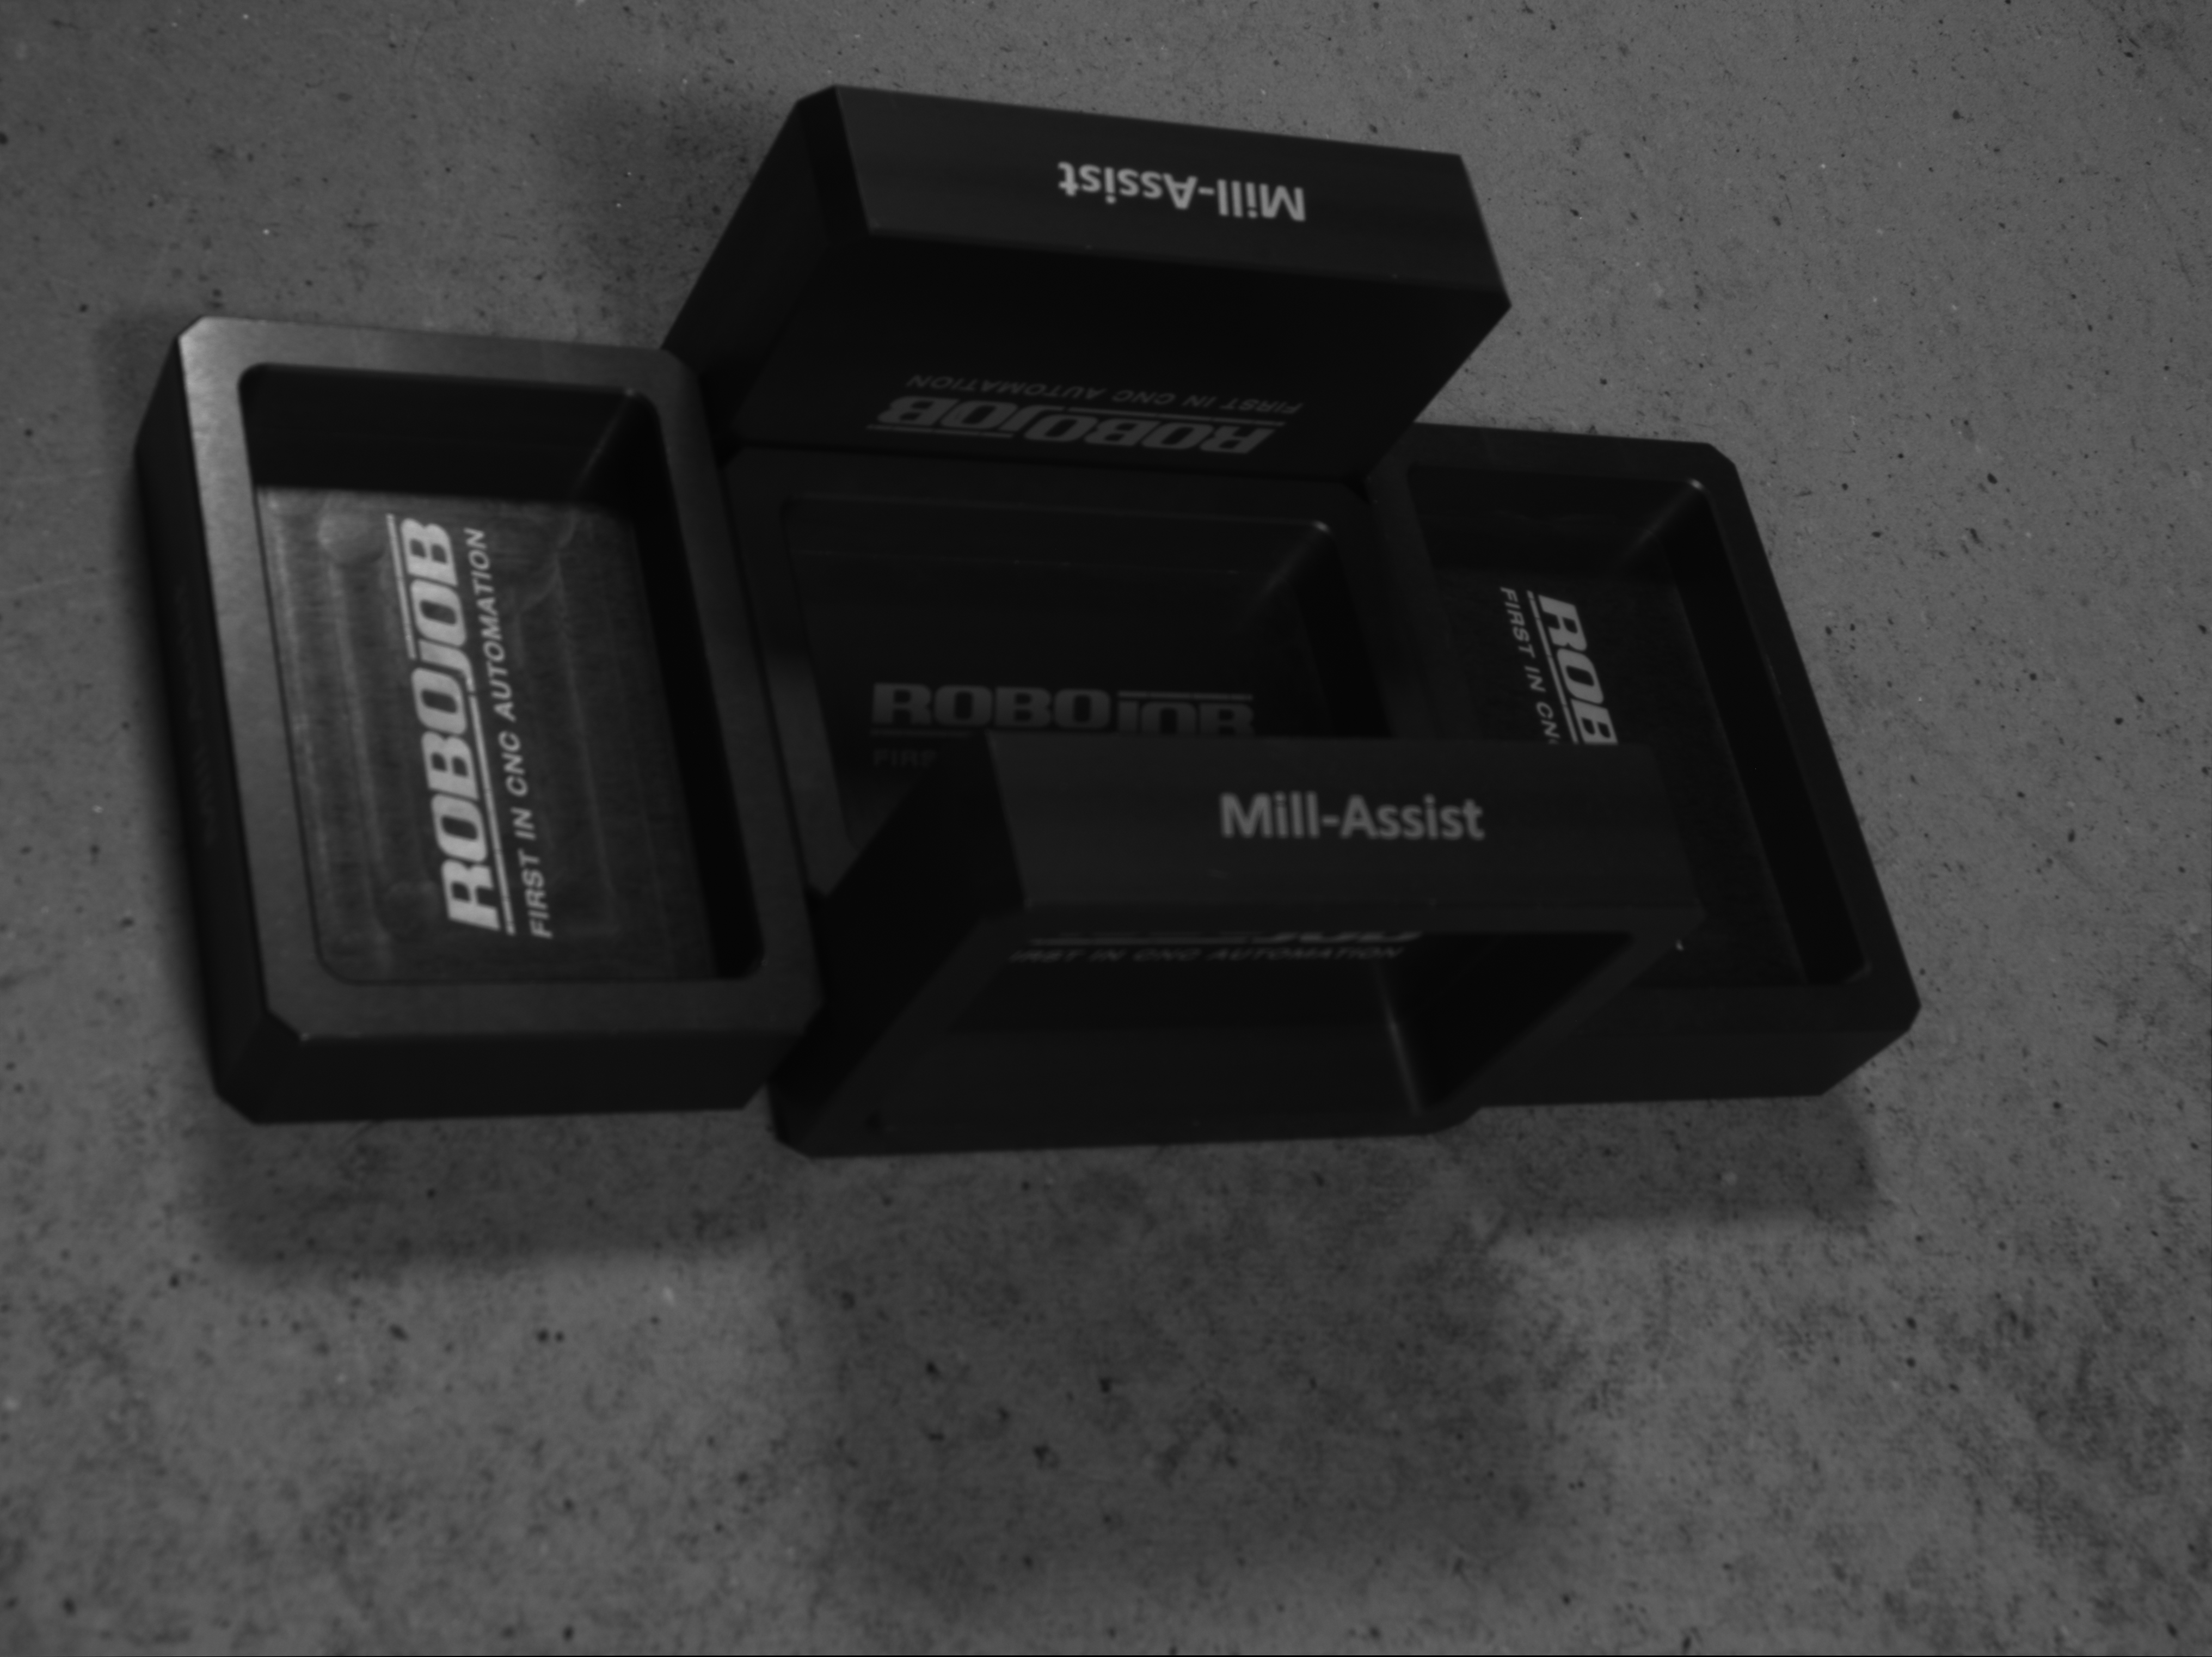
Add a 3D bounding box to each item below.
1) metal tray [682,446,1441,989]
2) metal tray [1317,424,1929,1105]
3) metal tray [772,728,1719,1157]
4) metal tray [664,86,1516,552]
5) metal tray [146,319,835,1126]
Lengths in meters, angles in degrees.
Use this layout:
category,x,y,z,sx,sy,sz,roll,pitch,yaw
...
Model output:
category,x,y,z,sx,sy,sz,roll,pitch,yaw
metal tray,-0.005,-0.018,0.645,0.130,0.030,0.090,1,61,-28
metal tray,0.095,-0.013,0.696,0.090,0.030,0.130,1,61,-28
metal tray,0.022,0.020,0.596,0.130,0.090,0.030,0,61,-28
metal tray,-0.005,-0.086,0.648,0.130,0.090,0.030,0,61,-28
metal tray,-0.101,-0.018,0.593,0.090,0.030,0.130,1,61,-28
